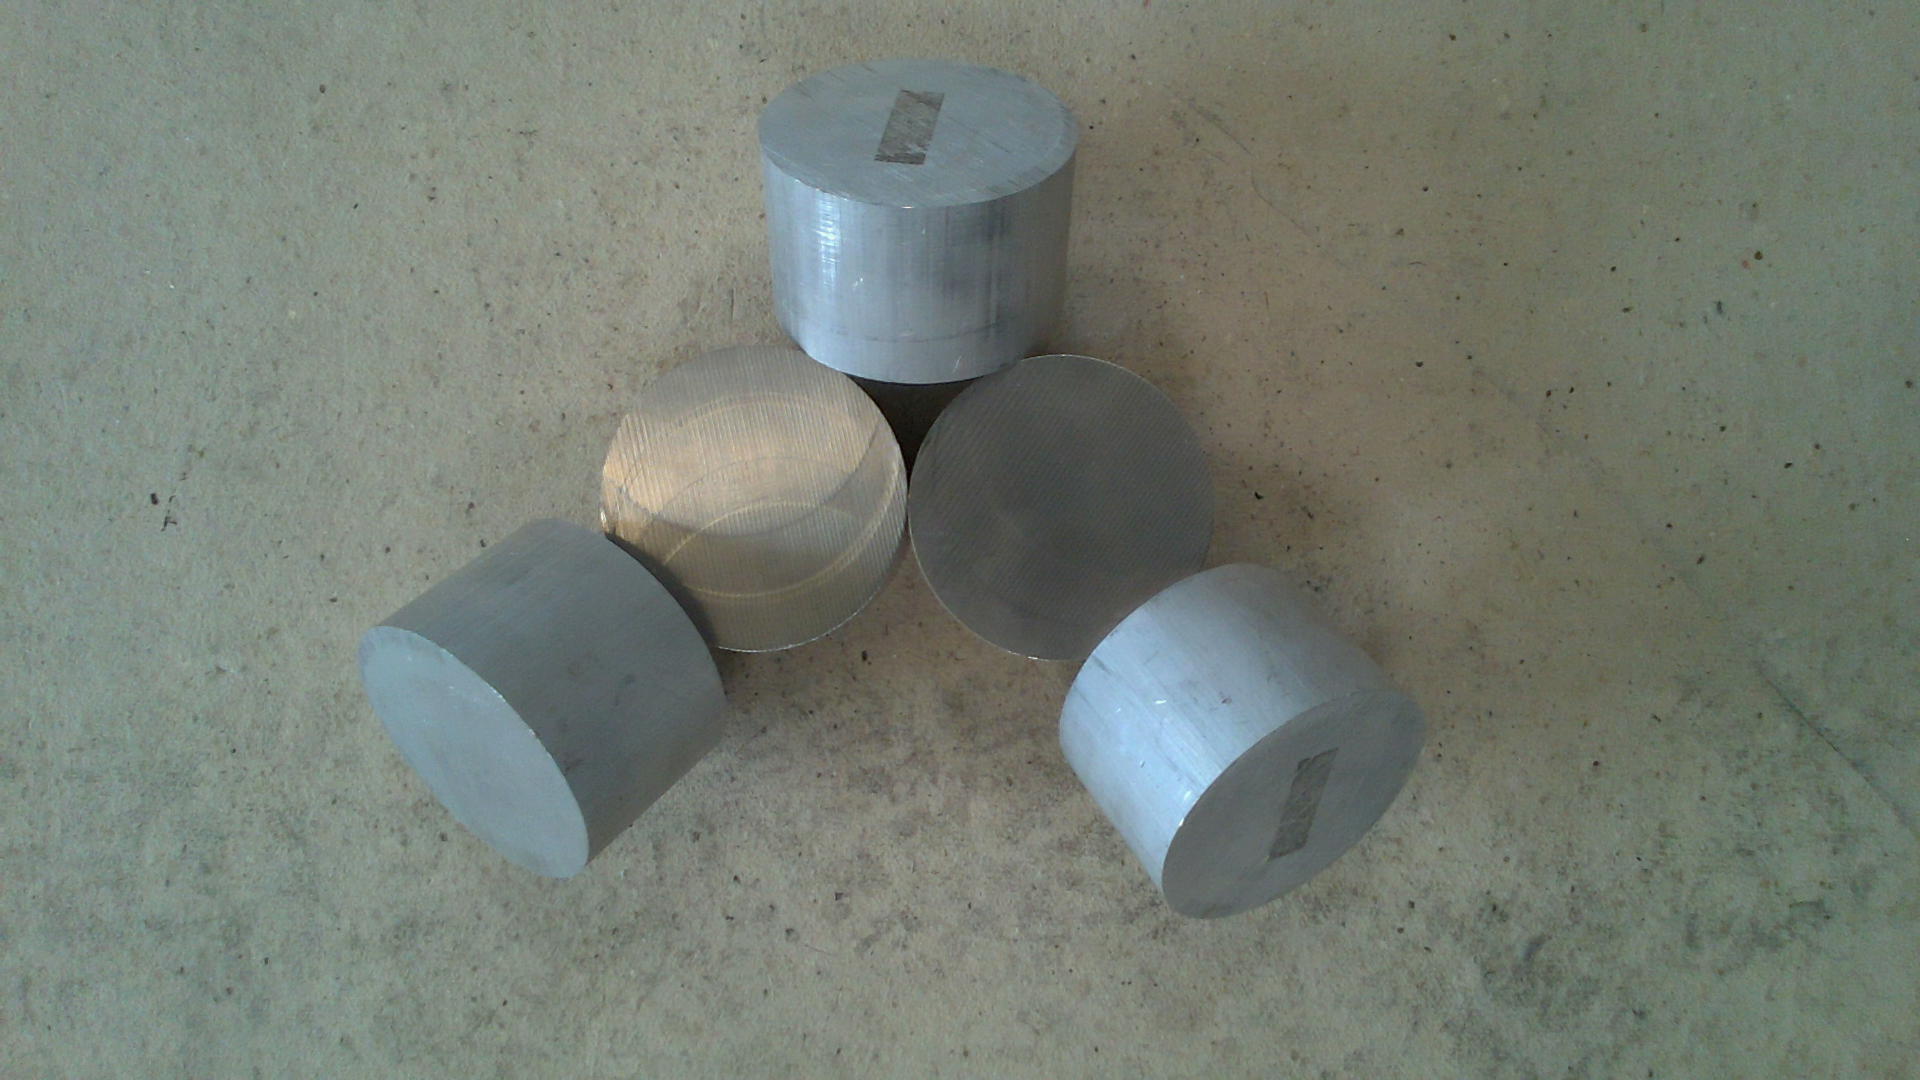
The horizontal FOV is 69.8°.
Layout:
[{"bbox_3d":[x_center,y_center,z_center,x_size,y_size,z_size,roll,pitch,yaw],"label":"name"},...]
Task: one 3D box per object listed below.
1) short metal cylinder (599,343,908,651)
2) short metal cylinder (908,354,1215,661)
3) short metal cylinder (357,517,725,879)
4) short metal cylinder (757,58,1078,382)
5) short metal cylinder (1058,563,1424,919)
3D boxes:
[{"bbox_3d":[-0.054,-0.011,0.382,0.080,0.050,0.080,0,90,0],"label":"short metal cylinder"},{"bbox_3d":[0.026,-0.008,0.383,0.080,0.050,0.080,0,90,0],"label":"short metal cylinder"},{"bbox_3d":[-0.109,0.041,0.361,0.080,0.080,0.050,46,50,0],"label":"short metal cylinder"},{"bbox_3d":[-0.011,-0.086,0.362,0.080,0.080,0.050,2,133,0],"label":"short metal cylinder"},{"bbox_3d":[0.073,0.053,0.362,0.080,0.080,0.050,-37,49,0],"label":"short metal cylinder"}]
